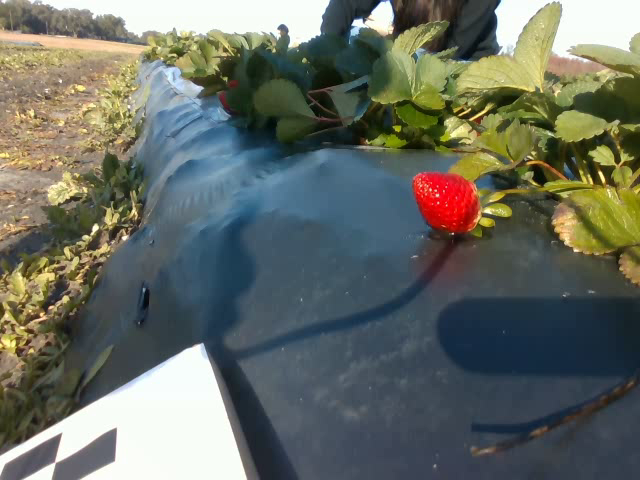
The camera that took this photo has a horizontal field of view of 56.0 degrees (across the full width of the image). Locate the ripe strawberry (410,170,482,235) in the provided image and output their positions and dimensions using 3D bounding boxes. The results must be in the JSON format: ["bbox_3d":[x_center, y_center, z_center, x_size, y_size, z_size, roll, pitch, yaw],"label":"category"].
[{"bbox_3d":[0.050,-0.017,0.246,0.041,0.031,0.028,29,-21,-35],"label":"ripe strawberry"}]
